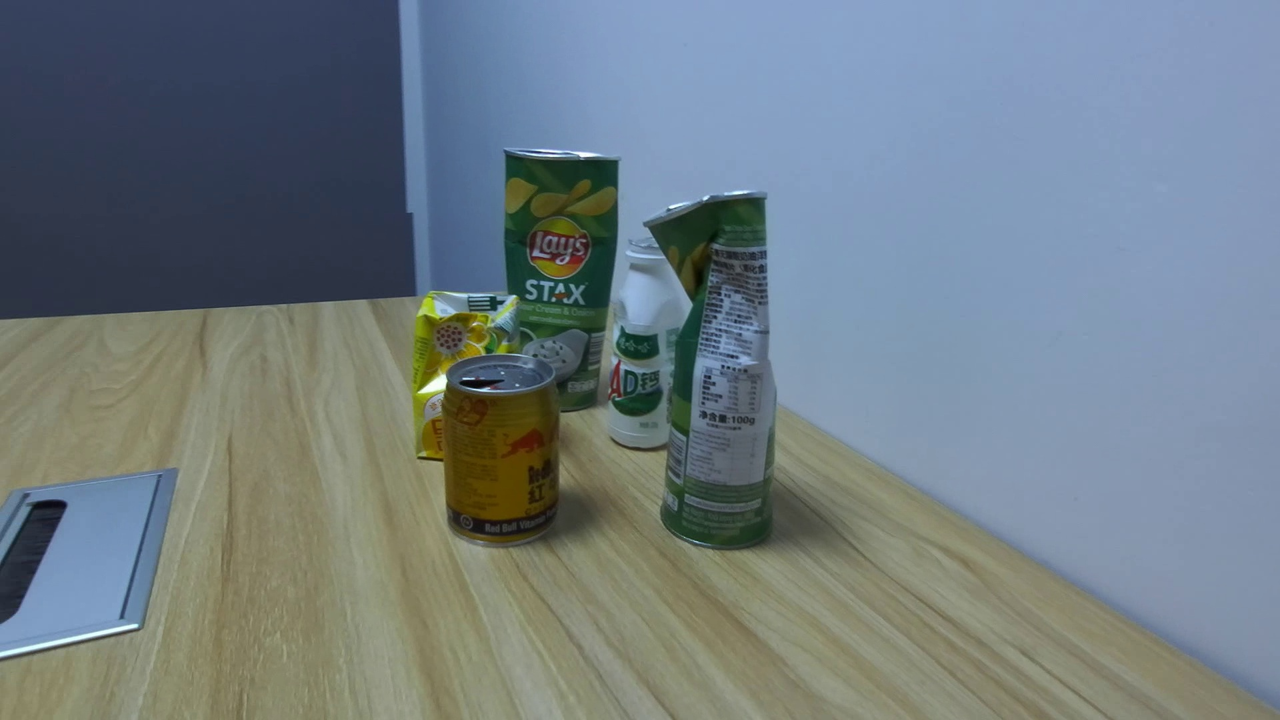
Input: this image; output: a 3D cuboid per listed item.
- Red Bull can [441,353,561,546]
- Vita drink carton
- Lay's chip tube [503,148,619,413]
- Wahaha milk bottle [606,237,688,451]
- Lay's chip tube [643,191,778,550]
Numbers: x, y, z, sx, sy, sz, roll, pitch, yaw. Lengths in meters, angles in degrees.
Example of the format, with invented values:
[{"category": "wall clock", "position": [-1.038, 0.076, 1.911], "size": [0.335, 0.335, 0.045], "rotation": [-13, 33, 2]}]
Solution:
[{"category": "Red Bull can", "position": [-0.080, 0.050, 0.408], "size": [0.067, 0.093, 0.067], "rotation": [3, 20, -1]}, {"category": "Vita drink carton", "position": [-0.118, 0.012, 0.485], "size": [0.071, 0.109, 0.046], "rotation": [3, 18, 0]}, {"category": "Lay's chip tube", "position": [-0.064, -0.063, 0.569], "size": [0.075, 0.199, 0.068], "rotation": [-7, 20, -26]}, {"category": "Wahaha milk bottle", "position": [0.000, -0.011, 0.507], "size": [0.055, 0.149, 0.055], "rotation": [2, 19, 0]}, {"category": "Lay's chip tube", "position": [0.041, 0.005, 0.402], "size": [0.071, 0.199, 0.079], "rotation": [-2, 17, 7]}]
